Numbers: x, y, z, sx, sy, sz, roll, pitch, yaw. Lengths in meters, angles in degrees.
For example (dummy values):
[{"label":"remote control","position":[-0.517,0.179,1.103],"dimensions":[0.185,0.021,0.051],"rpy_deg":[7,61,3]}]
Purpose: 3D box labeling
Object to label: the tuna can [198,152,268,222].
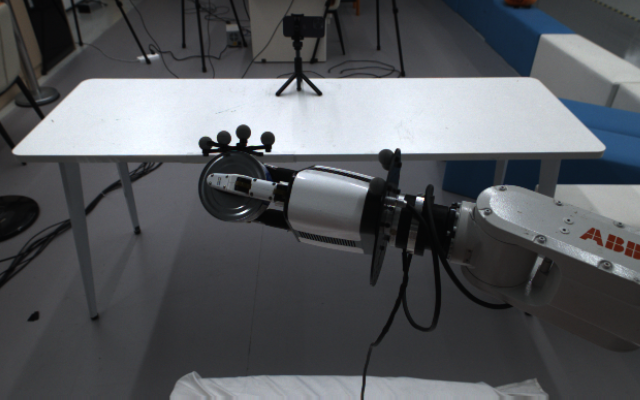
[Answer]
[{"label":"tuna can","position":[-0.099,-0.010,0.586],"dimensions":[0.085,0.085,0.034],"rpy_deg":[10,-6,11]}]
